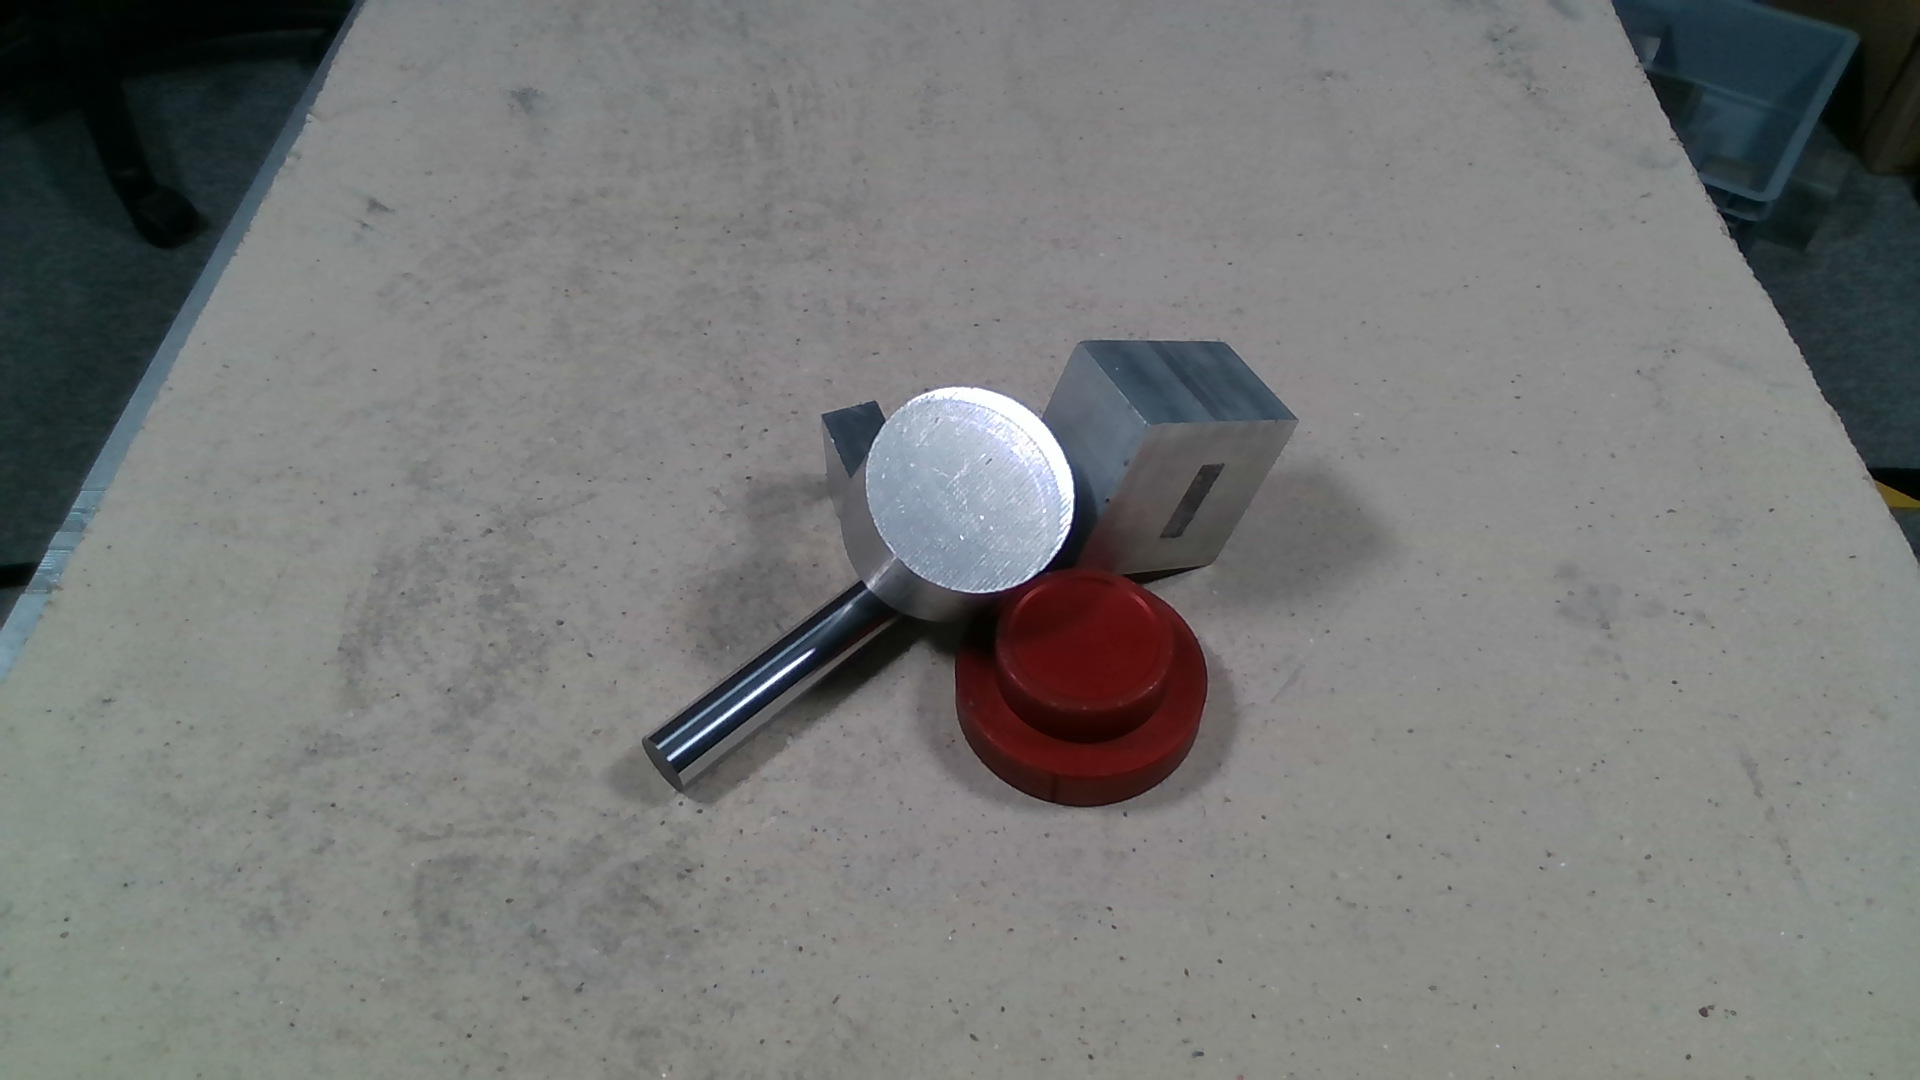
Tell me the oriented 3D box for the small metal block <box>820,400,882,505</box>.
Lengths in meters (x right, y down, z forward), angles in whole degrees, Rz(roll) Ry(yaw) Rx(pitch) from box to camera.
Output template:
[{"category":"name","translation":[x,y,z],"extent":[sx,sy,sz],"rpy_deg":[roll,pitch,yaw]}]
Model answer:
[{"category":"small metal block","translation":[-0.039,-0.022,0.590],"extent":[0.025,0.050,0.050],"rpy_deg":[-16,53,-14]}]

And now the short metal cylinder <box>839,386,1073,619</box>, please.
[{"category":"short metal cylinder","translation":[-0.003,-0.013,0.533],"extent":[0.080,0.050,0.080],"rpy_deg":[5,73,-15]}]

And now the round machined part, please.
[{"category":"round machined part","translation":[0.047,0.050,0.534],"extent":[0.098,0.042,0.098],"rpy_deg":[0,50,0]}]

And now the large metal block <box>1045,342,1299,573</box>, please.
[{"category":"large metal block","translation":[0.077,-0.033,0.565],"extent":[0.080,0.080,0.050],"rpy_deg":[-5,45,-33]}]

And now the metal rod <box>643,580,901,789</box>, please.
[{"category":"metal rod","translation":[-0.006,0.003,0.585],"extent":[0.300,0.025,0.025],"rpy_deg":[-37,59,-27]}]
